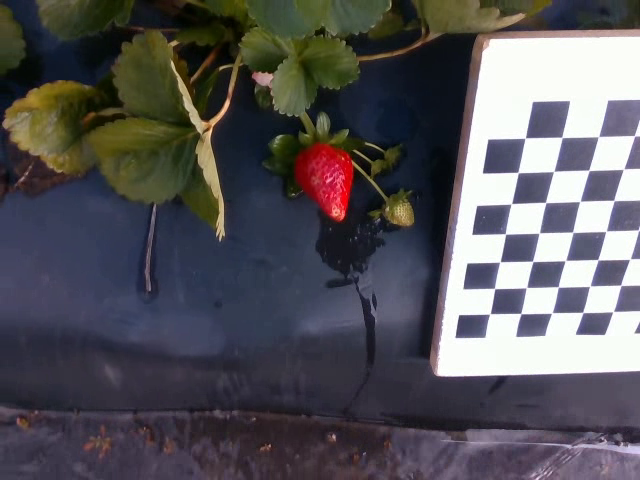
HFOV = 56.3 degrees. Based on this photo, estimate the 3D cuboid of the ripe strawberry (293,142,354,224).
[{"bbox_3d":[0.007,-0.037,0.408,0.043,0.057,0.052,-21,-31,15],"label":"ripe strawberry"}]
